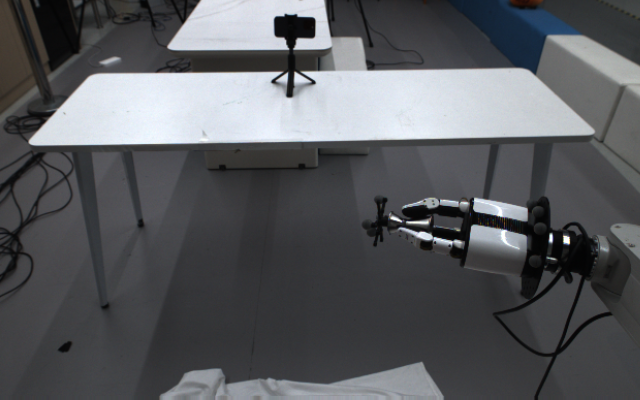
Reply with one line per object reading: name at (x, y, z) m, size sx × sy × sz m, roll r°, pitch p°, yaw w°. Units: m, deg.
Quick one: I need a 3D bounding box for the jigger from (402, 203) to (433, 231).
jigger at (0.156, 0.034, 0.792) m, size 0.071 × 0.043 × 0.043 m, roll 5°, pitch 34°, yaw 22°
